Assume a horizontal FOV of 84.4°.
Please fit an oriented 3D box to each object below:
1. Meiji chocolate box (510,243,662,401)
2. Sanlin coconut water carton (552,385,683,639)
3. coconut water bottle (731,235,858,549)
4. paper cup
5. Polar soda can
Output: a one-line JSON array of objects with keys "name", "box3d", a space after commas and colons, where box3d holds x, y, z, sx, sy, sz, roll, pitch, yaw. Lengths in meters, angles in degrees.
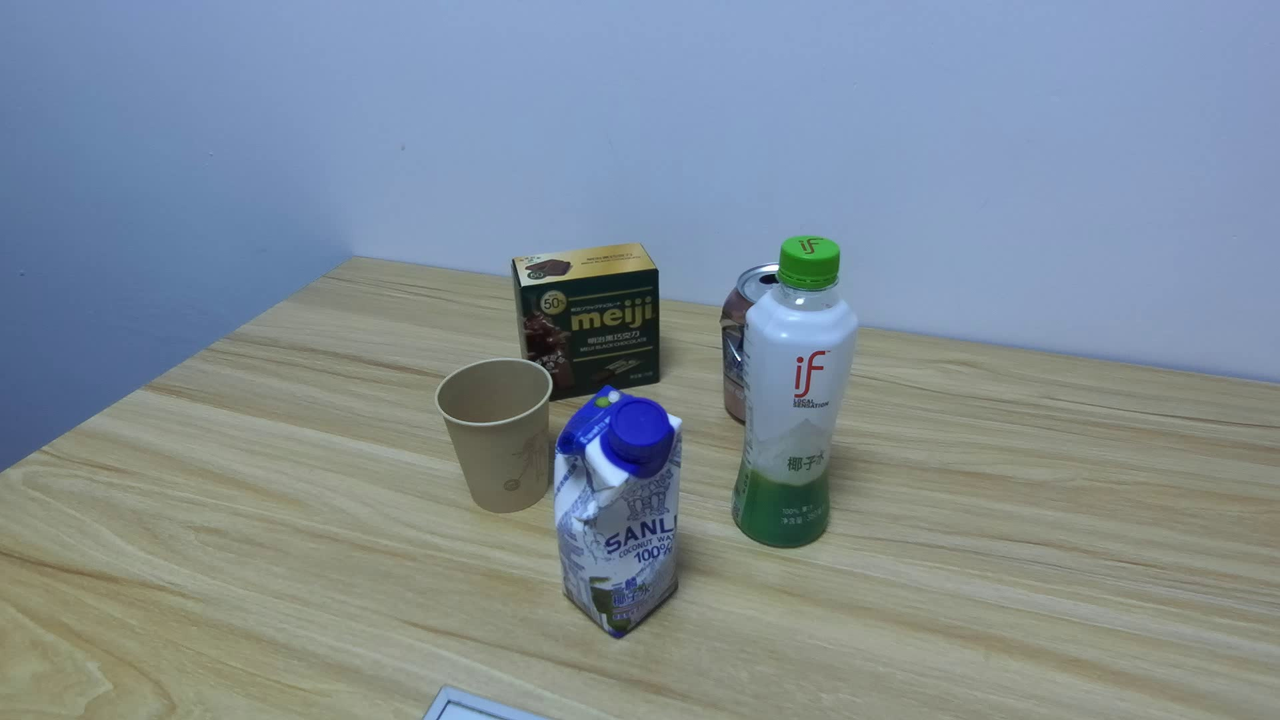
[{"name": "Meiji chocolate box", "box3d": [-0.042, -0.030, 0.573, 0.110, 0.109, 0.056, -9, 33, -12]}, {"name": "Sanlin coconut water carton", "box3d": [-0.014, 0.077, 0.374, 0.061, 0.144, 0.069, -29, 42, -35]}, {"name": "coconut water bottle", "box3d": [0.090, 0.022, 0.411, 0.063, 0.189, 0.063, -1, 32, 1]}, {"name": "paper cup", "box3d": [-0.090, 0.053, 0.473, 0.075, 0.082, 0.075, -1, 33, 1]}, {"name": "Polar soda can", "box3d": [0.097, -0.008, 0.535, 0.071, 0.122, 0.066, 1, 22, 5]}]
